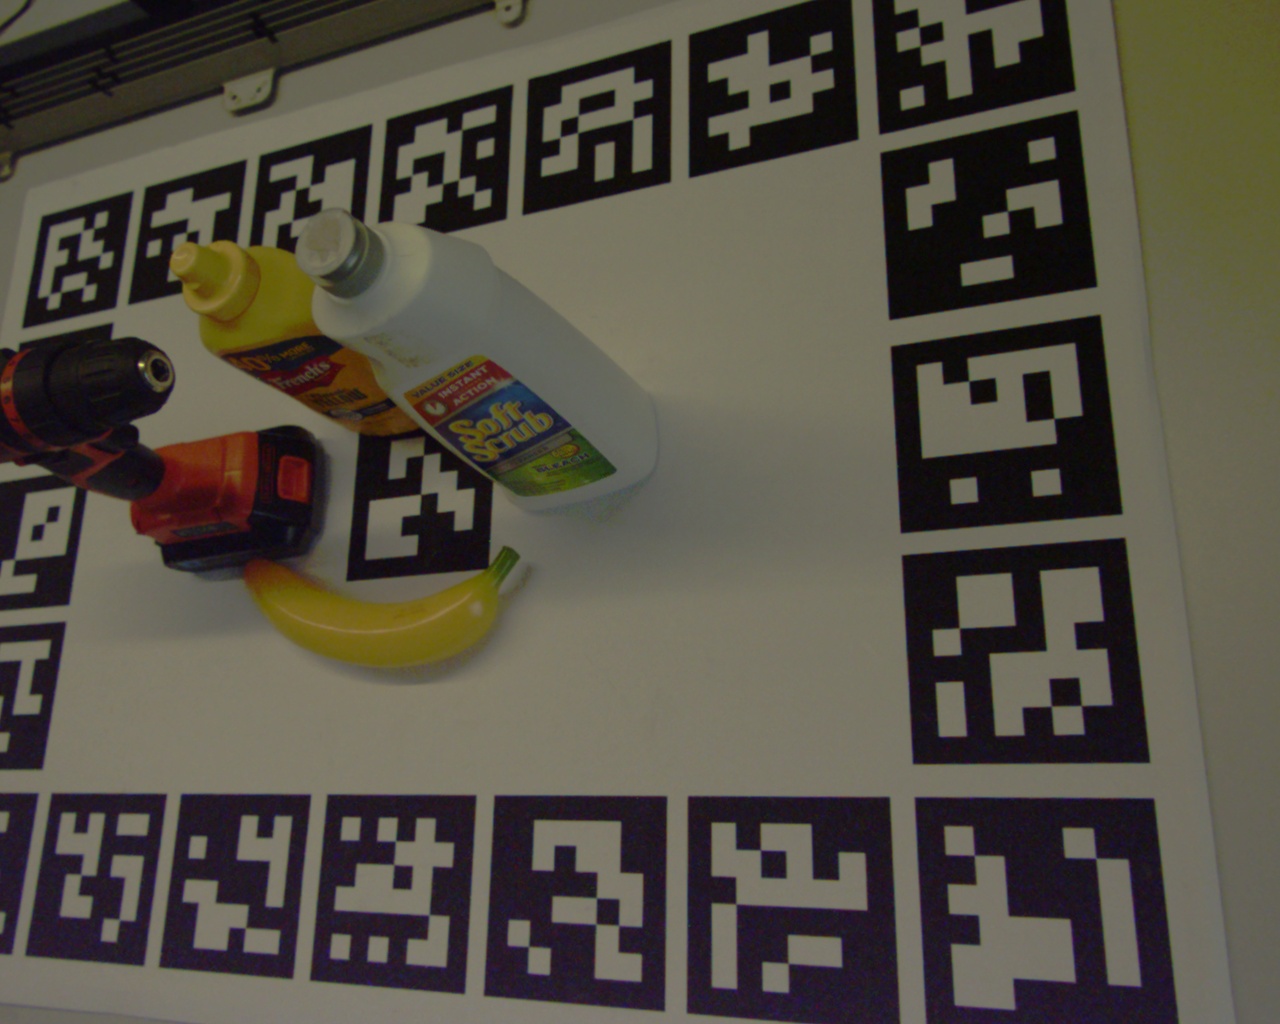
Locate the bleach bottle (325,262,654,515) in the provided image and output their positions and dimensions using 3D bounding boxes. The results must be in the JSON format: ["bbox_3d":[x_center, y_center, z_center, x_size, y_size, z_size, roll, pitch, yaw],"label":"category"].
[{"bbox_3d":[-0.081,-0.063,0.591,0.103,0.248,0.068,-14,72,20],"label":"bleach bottle"}]

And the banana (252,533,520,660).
[{"bbox_3d":[-0.161,0.054,0.702,0.199,0.038,0.074,-3,79,25],"label":"banana"}]

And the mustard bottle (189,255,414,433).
[{"bbox_3d":[-0.193,-0.102,0.676,0.097,0.189,0.058,-5,74,21],"label":"mustard bottle"}]

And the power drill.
[{"bbox_3d":[-0.295,-0.038,0.683,0.186,0.185,0.057,-8,66,19],"label":"power drill"}]
